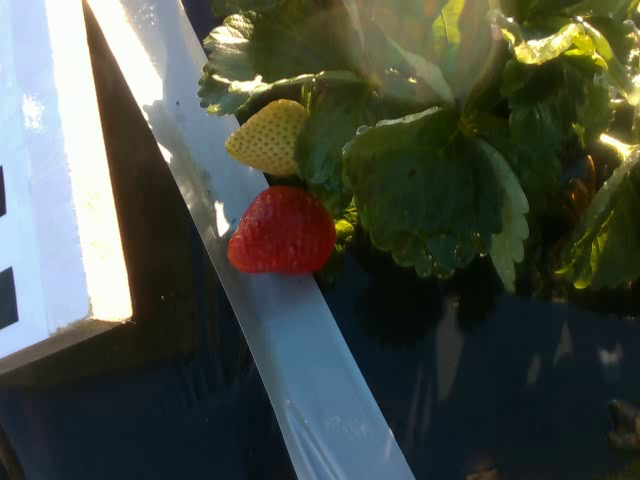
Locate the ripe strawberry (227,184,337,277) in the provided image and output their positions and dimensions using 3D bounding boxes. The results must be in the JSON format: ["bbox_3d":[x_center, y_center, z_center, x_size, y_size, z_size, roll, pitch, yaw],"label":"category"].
[{"bbox_3d":[-0.018,-0.002,0.252,0.045,0.049,0.063,4,22,33],"label":"ripe strawberry"}]
